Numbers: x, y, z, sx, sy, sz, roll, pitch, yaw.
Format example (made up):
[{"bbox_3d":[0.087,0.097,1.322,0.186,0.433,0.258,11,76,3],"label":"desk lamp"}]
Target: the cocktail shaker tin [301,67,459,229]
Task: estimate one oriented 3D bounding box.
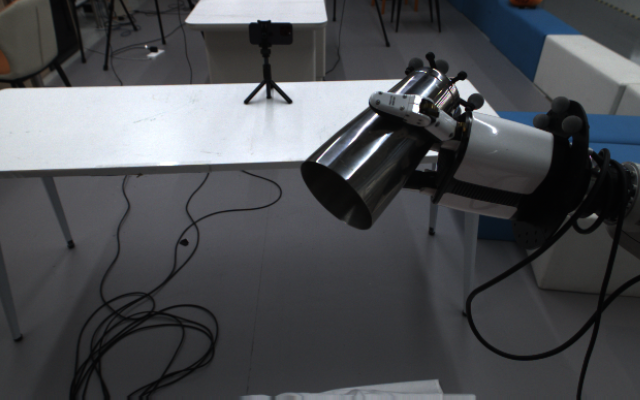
[{"bbox_3d":[0.070,-0.063,0.502,0.093,0.093,0.170,31,66,35],"label":"cocktail shaker tin"}]
